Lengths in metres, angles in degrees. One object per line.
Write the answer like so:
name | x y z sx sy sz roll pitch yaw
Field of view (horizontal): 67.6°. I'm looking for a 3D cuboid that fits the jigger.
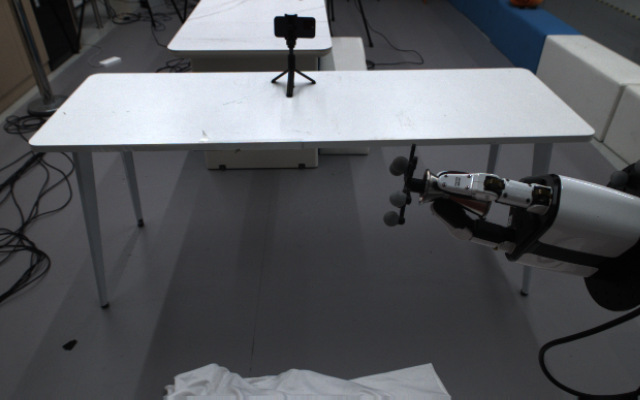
jigger | 0.148 -0.014 0.518 0.071 0.043 0.043 11 35 3
